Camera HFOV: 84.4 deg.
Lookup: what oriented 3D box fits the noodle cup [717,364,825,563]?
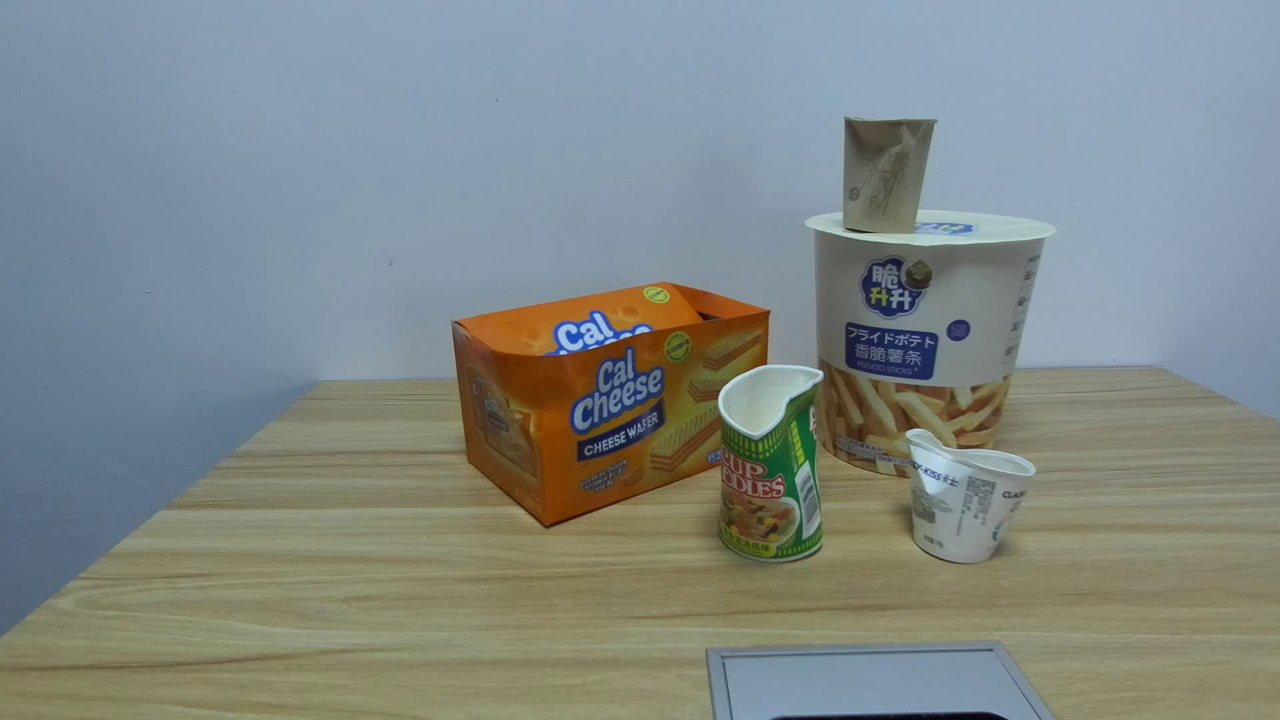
[{"bbox_3d":[0.089,0.068,0.468,0.115,0.111,0.070,-15,24,-36],"label":"noodle cup"}]

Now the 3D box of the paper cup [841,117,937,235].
[{"bbox_3d":[0.191,-0.141,0.536,0.072,0.084,0.066,-6,18,-29],"label":"paper cup"}]

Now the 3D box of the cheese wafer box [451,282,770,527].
[{"bbox_3d":[-0.022,0.025,0.589,0.231,0.132,0.151,-12,23,-33],"label":"cheese wafer box"}]

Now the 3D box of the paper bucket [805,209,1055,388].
[{"bbox_3d":[0.230,-0.019,0.600,0.198,0.194,0.198,-1,19,1],"label":"paper bucket"}]
